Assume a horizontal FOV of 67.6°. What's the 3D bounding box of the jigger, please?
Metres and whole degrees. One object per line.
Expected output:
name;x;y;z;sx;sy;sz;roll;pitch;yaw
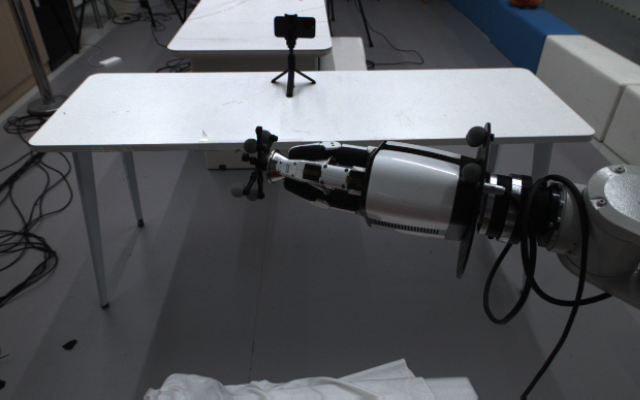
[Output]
jigger;-0.014;-0.036;0.539;0.071;0.043;0.043;10;35;16
